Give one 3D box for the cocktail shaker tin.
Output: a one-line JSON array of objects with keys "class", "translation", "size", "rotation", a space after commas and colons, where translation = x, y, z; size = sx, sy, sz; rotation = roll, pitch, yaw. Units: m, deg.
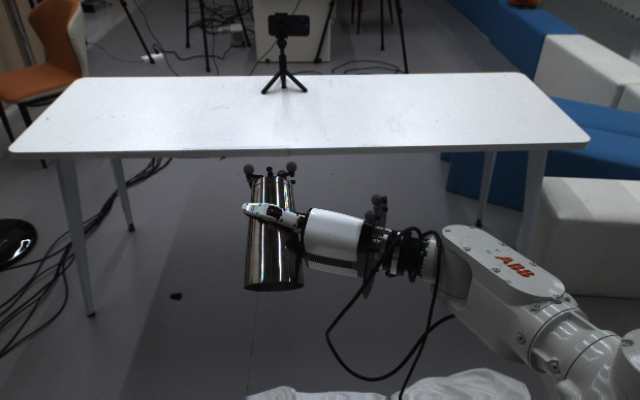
[{"class": "cocktail shaker tin", "translation": [-0.073, 0.054, 0.764], "size": [0.093, 0.093, 0.170], "rotation": [-3, 72, -7]}]
